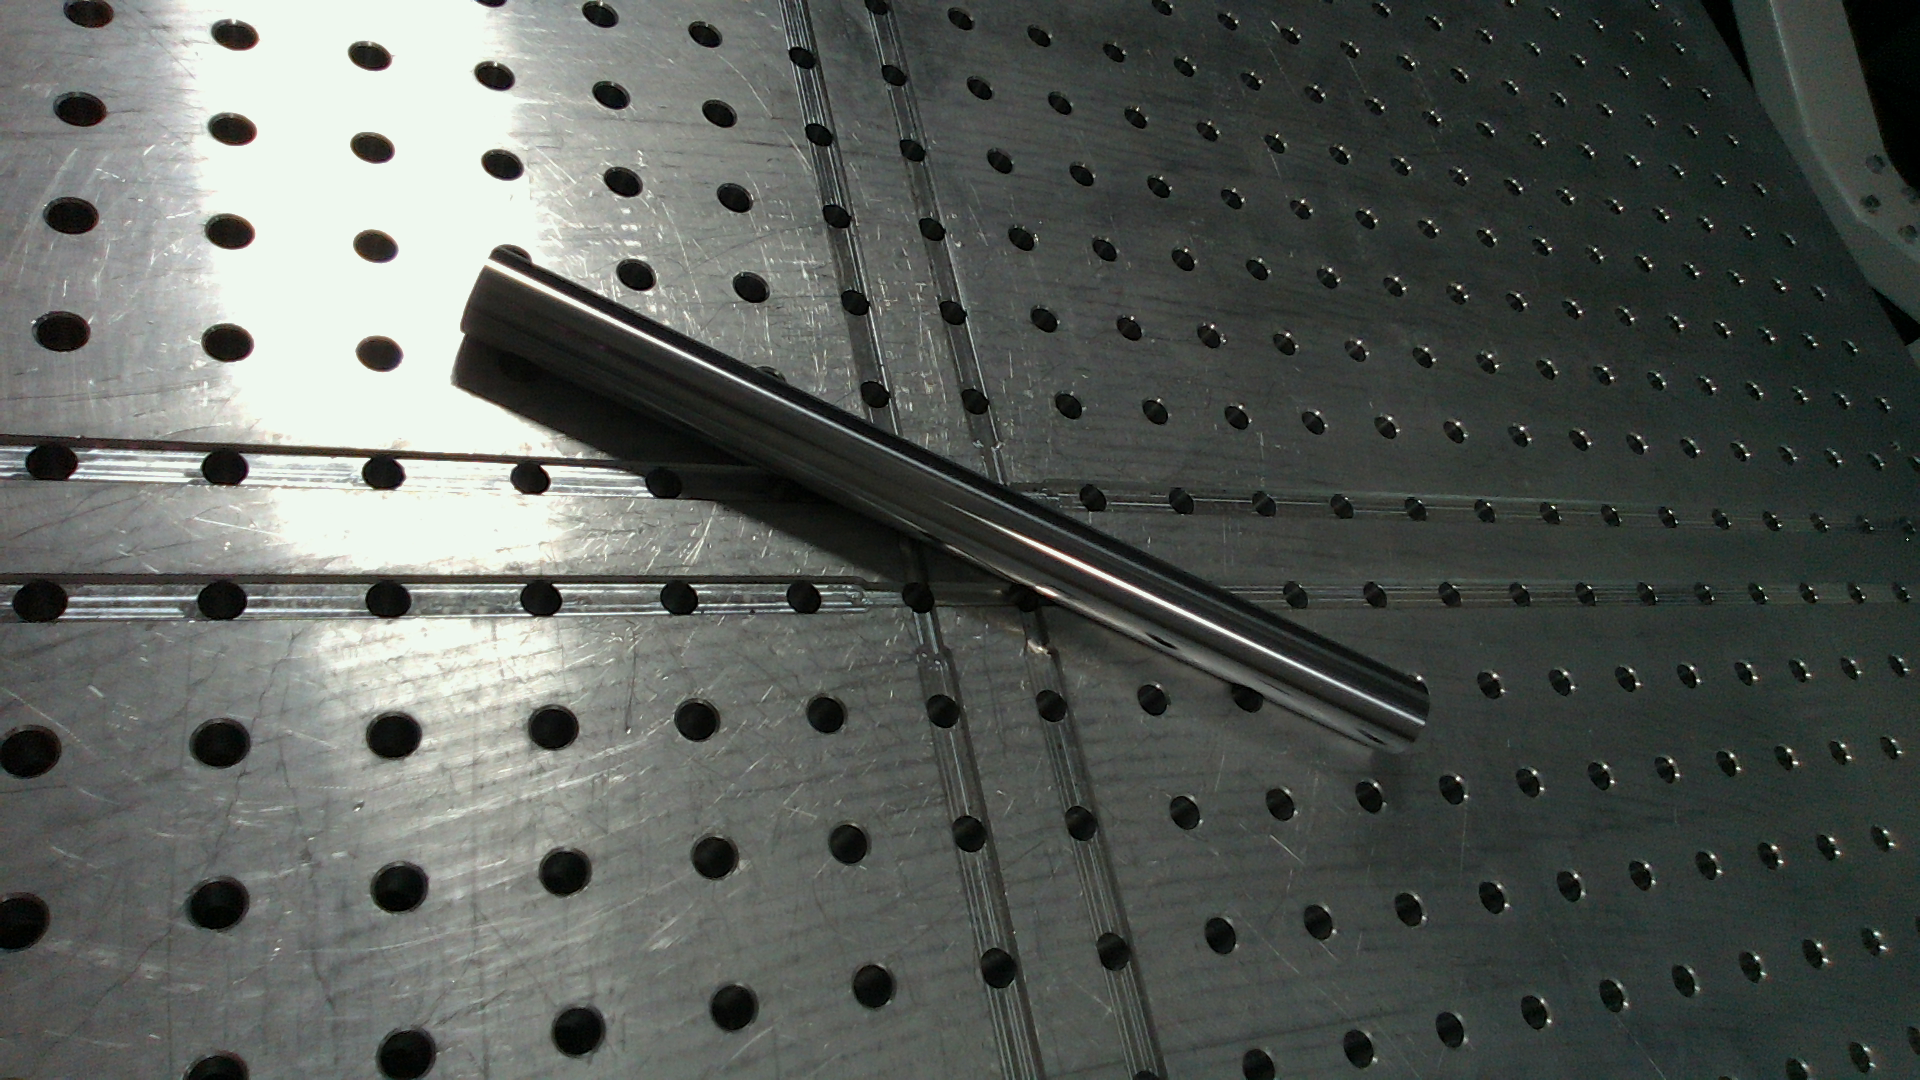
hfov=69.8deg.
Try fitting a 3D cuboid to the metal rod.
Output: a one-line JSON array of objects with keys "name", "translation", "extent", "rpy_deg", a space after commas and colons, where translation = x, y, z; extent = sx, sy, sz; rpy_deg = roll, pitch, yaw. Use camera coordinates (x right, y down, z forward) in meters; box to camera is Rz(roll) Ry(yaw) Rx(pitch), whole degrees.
[{"name": "metal rod", "translation": [0.006, -0.005, 0.399], "extent": [0.300, 0.025, 0.025], "rpy_deg": [24, 53, -13]}]
